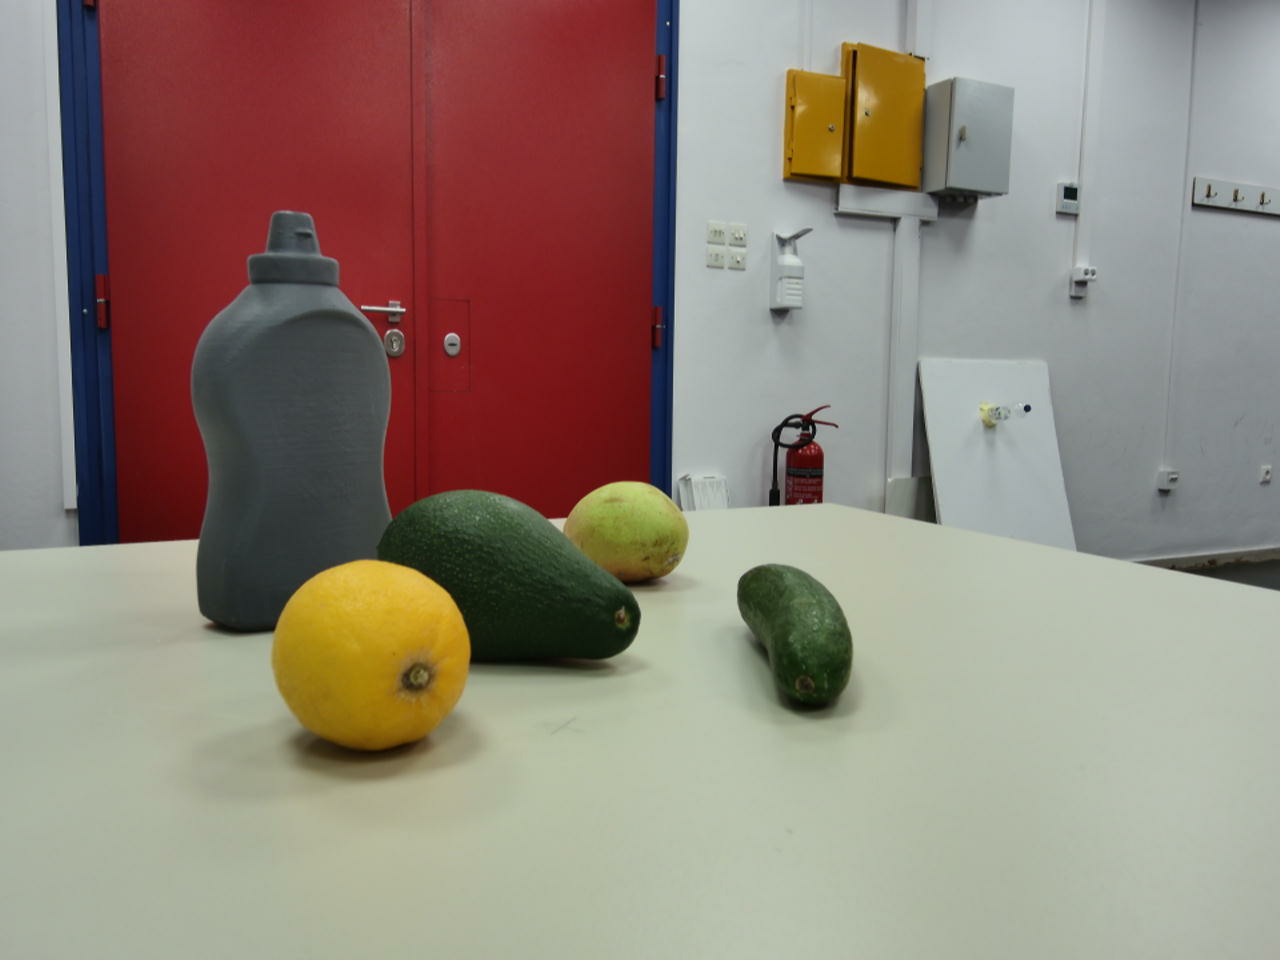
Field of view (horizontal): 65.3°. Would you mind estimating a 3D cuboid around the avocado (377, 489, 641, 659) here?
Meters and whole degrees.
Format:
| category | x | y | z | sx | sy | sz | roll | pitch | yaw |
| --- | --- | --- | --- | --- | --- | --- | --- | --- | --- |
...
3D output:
| category | x | y | z | sx | sy | sz | roll | pitch | yaw |
| --- | --- | --- | --- | --- | --- | --- | --- | --- | --- |
| avocado | -0.059 | 0.040 | 0.417 | 0.110 | 0.071 | 0.072 | 4 | 5 | 41 |
